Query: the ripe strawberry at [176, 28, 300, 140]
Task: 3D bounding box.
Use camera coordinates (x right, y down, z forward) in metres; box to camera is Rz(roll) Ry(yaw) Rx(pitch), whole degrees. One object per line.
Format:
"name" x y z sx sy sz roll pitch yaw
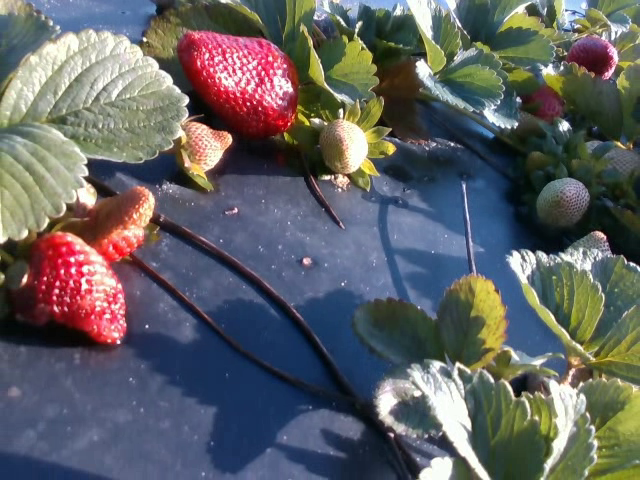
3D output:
"ripe strawberry" -0.040 -0.076 0.278 0.056 0.055 0.072 -11 0 30
